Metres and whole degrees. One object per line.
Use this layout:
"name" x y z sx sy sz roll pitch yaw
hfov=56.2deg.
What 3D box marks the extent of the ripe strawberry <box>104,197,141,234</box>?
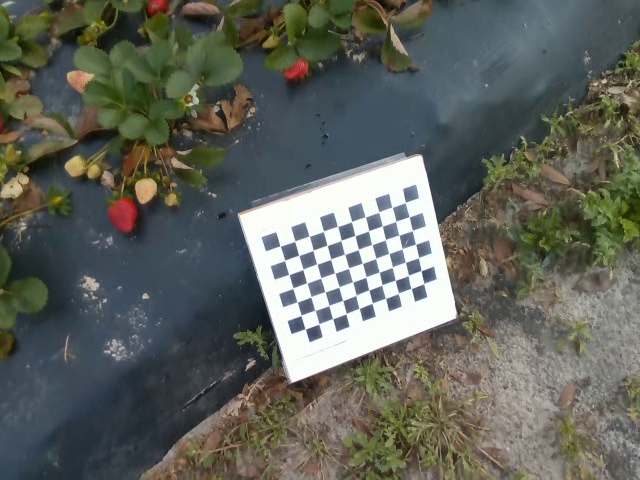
"ripe strawberry" -0.276 -0.034 0.835 0.050 0.059 0.034 -30 -32 -6
